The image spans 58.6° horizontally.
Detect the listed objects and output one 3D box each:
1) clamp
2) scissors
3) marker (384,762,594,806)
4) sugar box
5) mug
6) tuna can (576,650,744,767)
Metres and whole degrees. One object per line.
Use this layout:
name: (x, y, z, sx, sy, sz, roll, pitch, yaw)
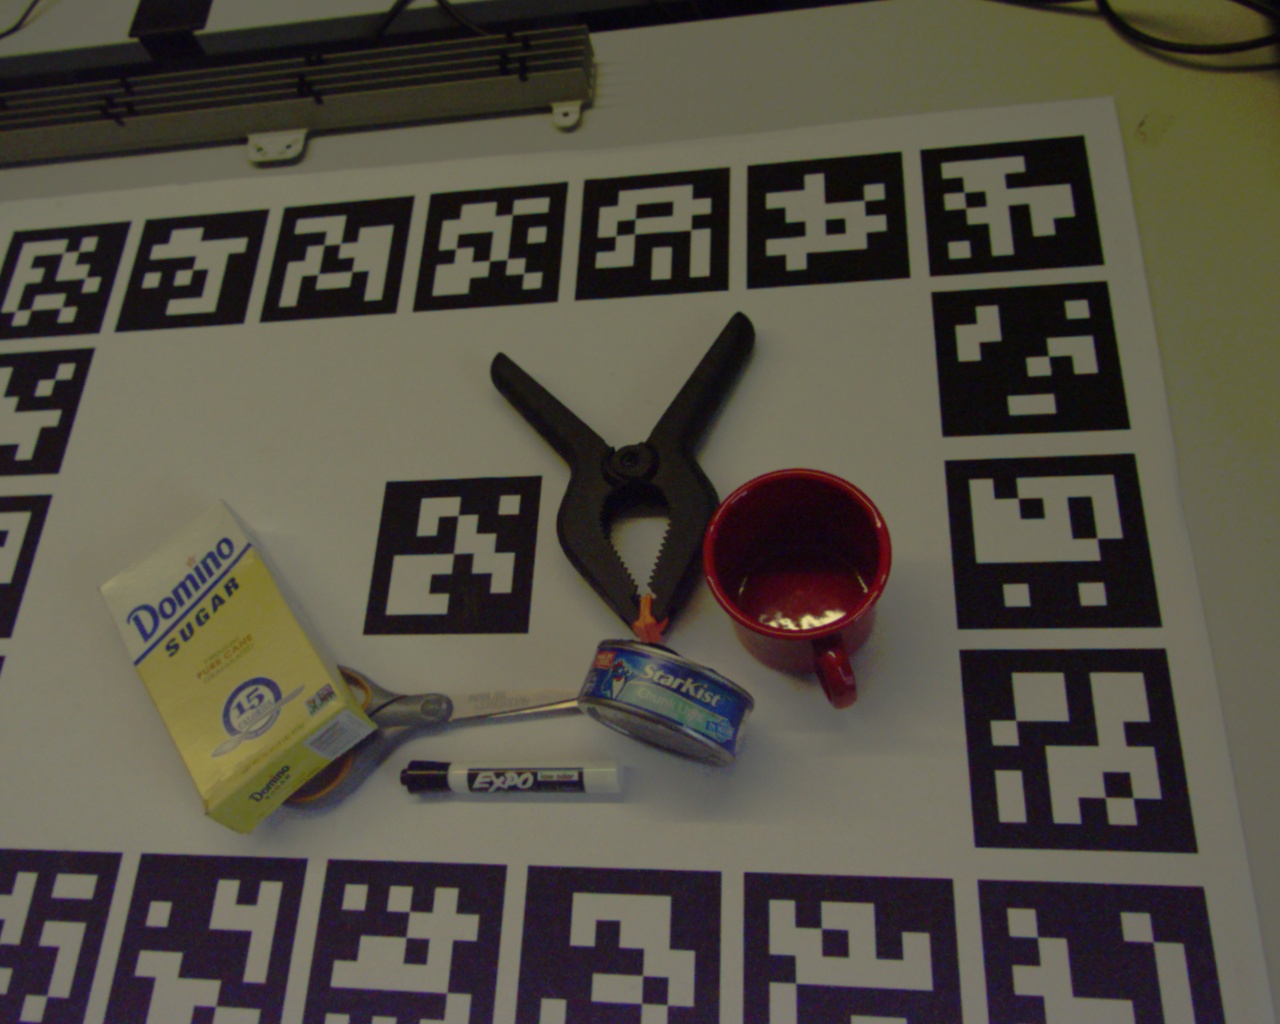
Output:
clamp: (-0.011, -0.011, 0.707, 0.166, 0.036, 0.204, -12, 65, 6)
scissors: (-0.131, 0.117, 0.669, 0.203, 0.016, 0.088, -11, 60, 4)
marker: (-0.087, 0.154, 0.646, 0.121, 0.019, 0.020, -6, 66, 9)
sugar box: (-0.238, 0.094, 0.684, 0.092, 0.045, 0.178, -36, 58, -6)
mug: (0.071, 0.057, 0.627, 0.093, 0.081, 0.118, -27, 60, -2)
tuna can: (0.010, 0.106, 0.612, 0.086, 0.085, 0.034, 14, 69, 17)
